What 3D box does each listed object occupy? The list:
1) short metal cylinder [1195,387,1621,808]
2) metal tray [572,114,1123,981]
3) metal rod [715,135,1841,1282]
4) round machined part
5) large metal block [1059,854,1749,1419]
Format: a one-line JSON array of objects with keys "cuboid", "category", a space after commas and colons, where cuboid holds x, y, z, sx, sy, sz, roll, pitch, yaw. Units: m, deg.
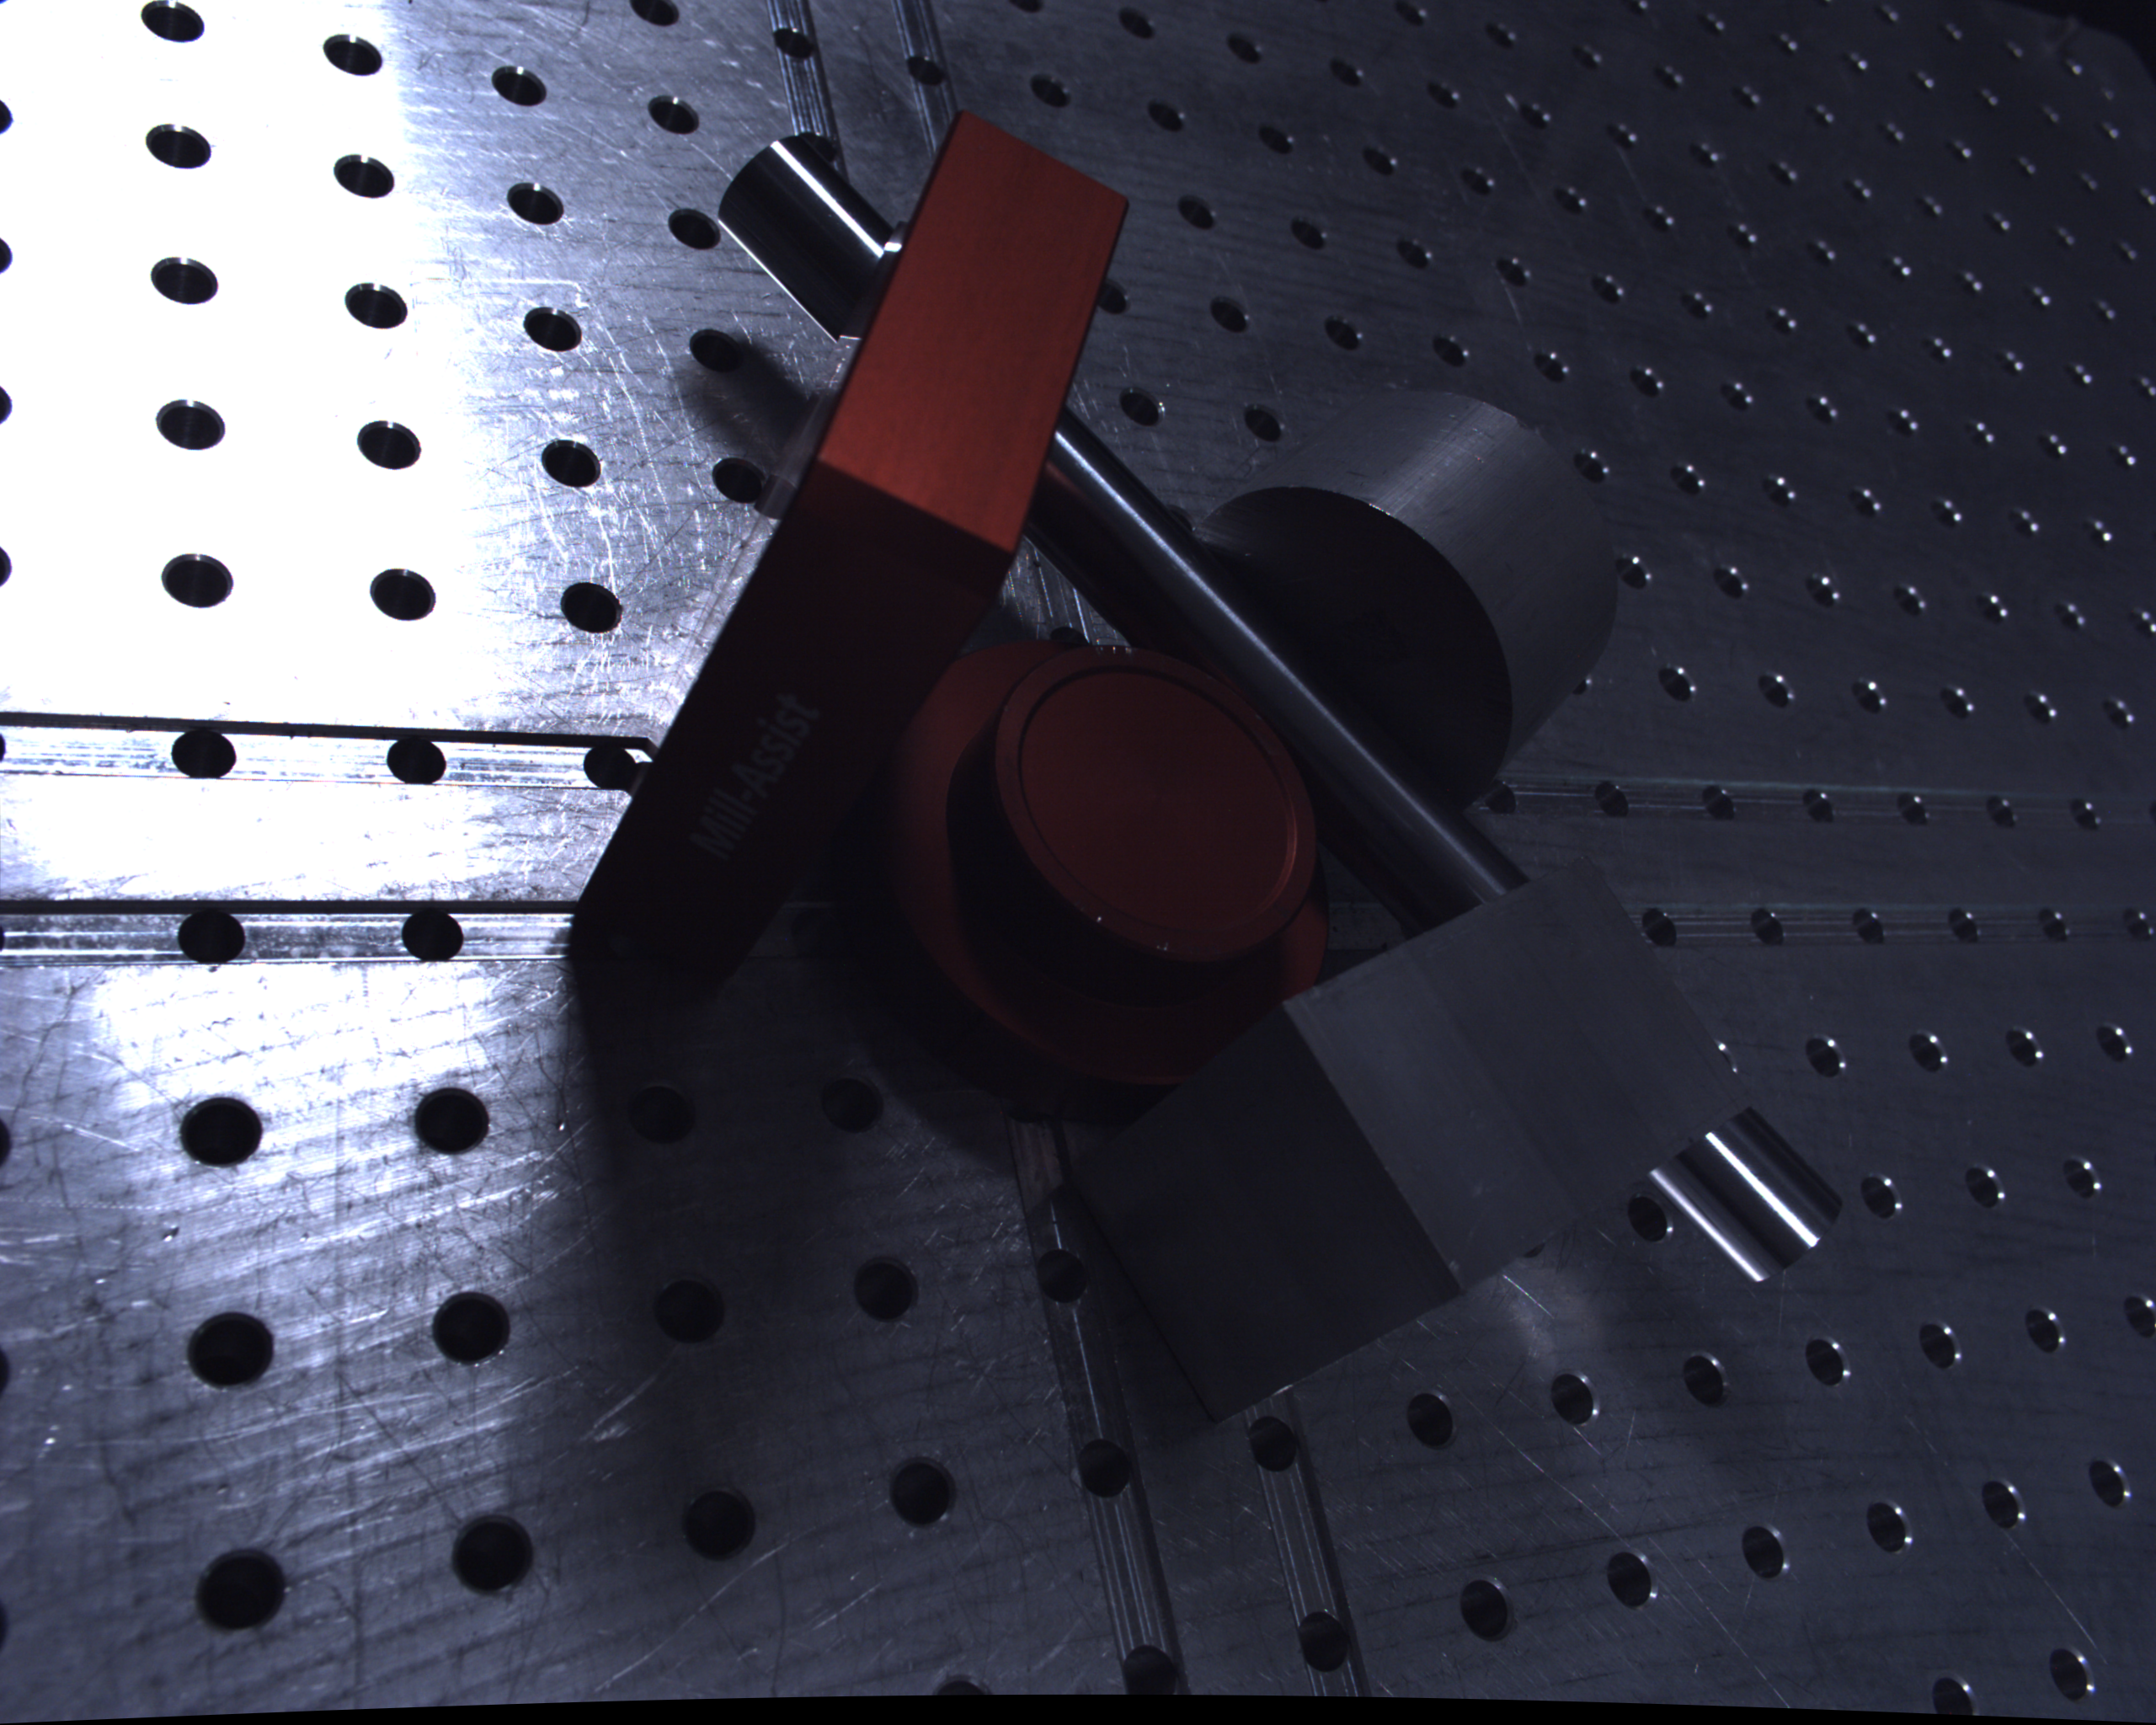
[{"cuboid": [0.067, -0.054, 0.442, 0.080, 0.080, 0.050, 45, 51, 2], "category": "short metal cylinder"}, {"cuboid": [-0.041, -0.047, 0.349, 0.030, 0.129, 0.090, 25, 53, -14], "category": "metal tray"}, {"cuboid": [0.038, -0.033, 0.423, 0.300, 0.025, 0.025, 46, 51, 4], "category": "metal rod"}, {"cuboid": [0.006, -0.002, 0.403, 0.099, 0.042, 0.098, 14, 56, -21], "category": "round machined part"}, {"cuboid": [0.057, 0.049, 0.375, 0.081, 0.080, 0.050, -21, 73, -36], "category": "large metal block"}]
